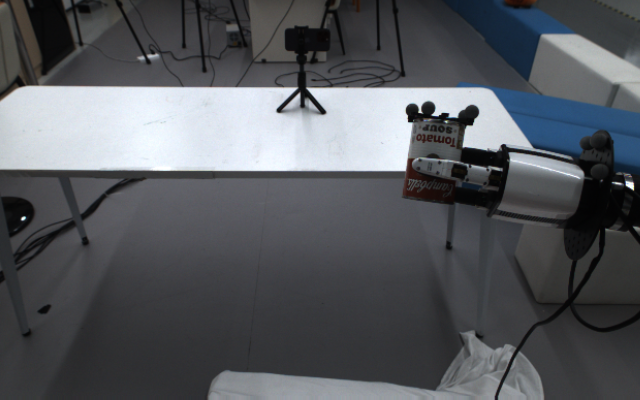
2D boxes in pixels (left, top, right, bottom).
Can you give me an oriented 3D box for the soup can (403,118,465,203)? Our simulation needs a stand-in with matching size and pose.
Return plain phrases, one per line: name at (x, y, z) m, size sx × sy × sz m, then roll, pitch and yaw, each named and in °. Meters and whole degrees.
soup can at (0.147, -0.051, 0.625) m, size 0.067 × 0.101 × 0.067 m, roll 7°, pitch 4°, yaw 0°
